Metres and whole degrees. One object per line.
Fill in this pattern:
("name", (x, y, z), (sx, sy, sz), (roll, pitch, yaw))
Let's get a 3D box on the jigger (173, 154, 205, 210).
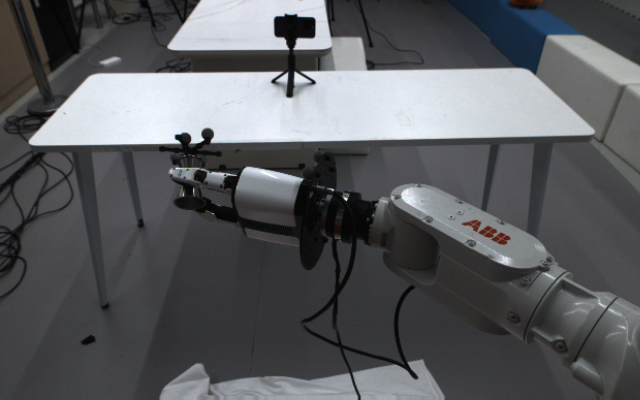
("jigger", (-0.187, -0.025, 0.692), (0.043, 0.043, 0.071), (-2, 65, -7))
